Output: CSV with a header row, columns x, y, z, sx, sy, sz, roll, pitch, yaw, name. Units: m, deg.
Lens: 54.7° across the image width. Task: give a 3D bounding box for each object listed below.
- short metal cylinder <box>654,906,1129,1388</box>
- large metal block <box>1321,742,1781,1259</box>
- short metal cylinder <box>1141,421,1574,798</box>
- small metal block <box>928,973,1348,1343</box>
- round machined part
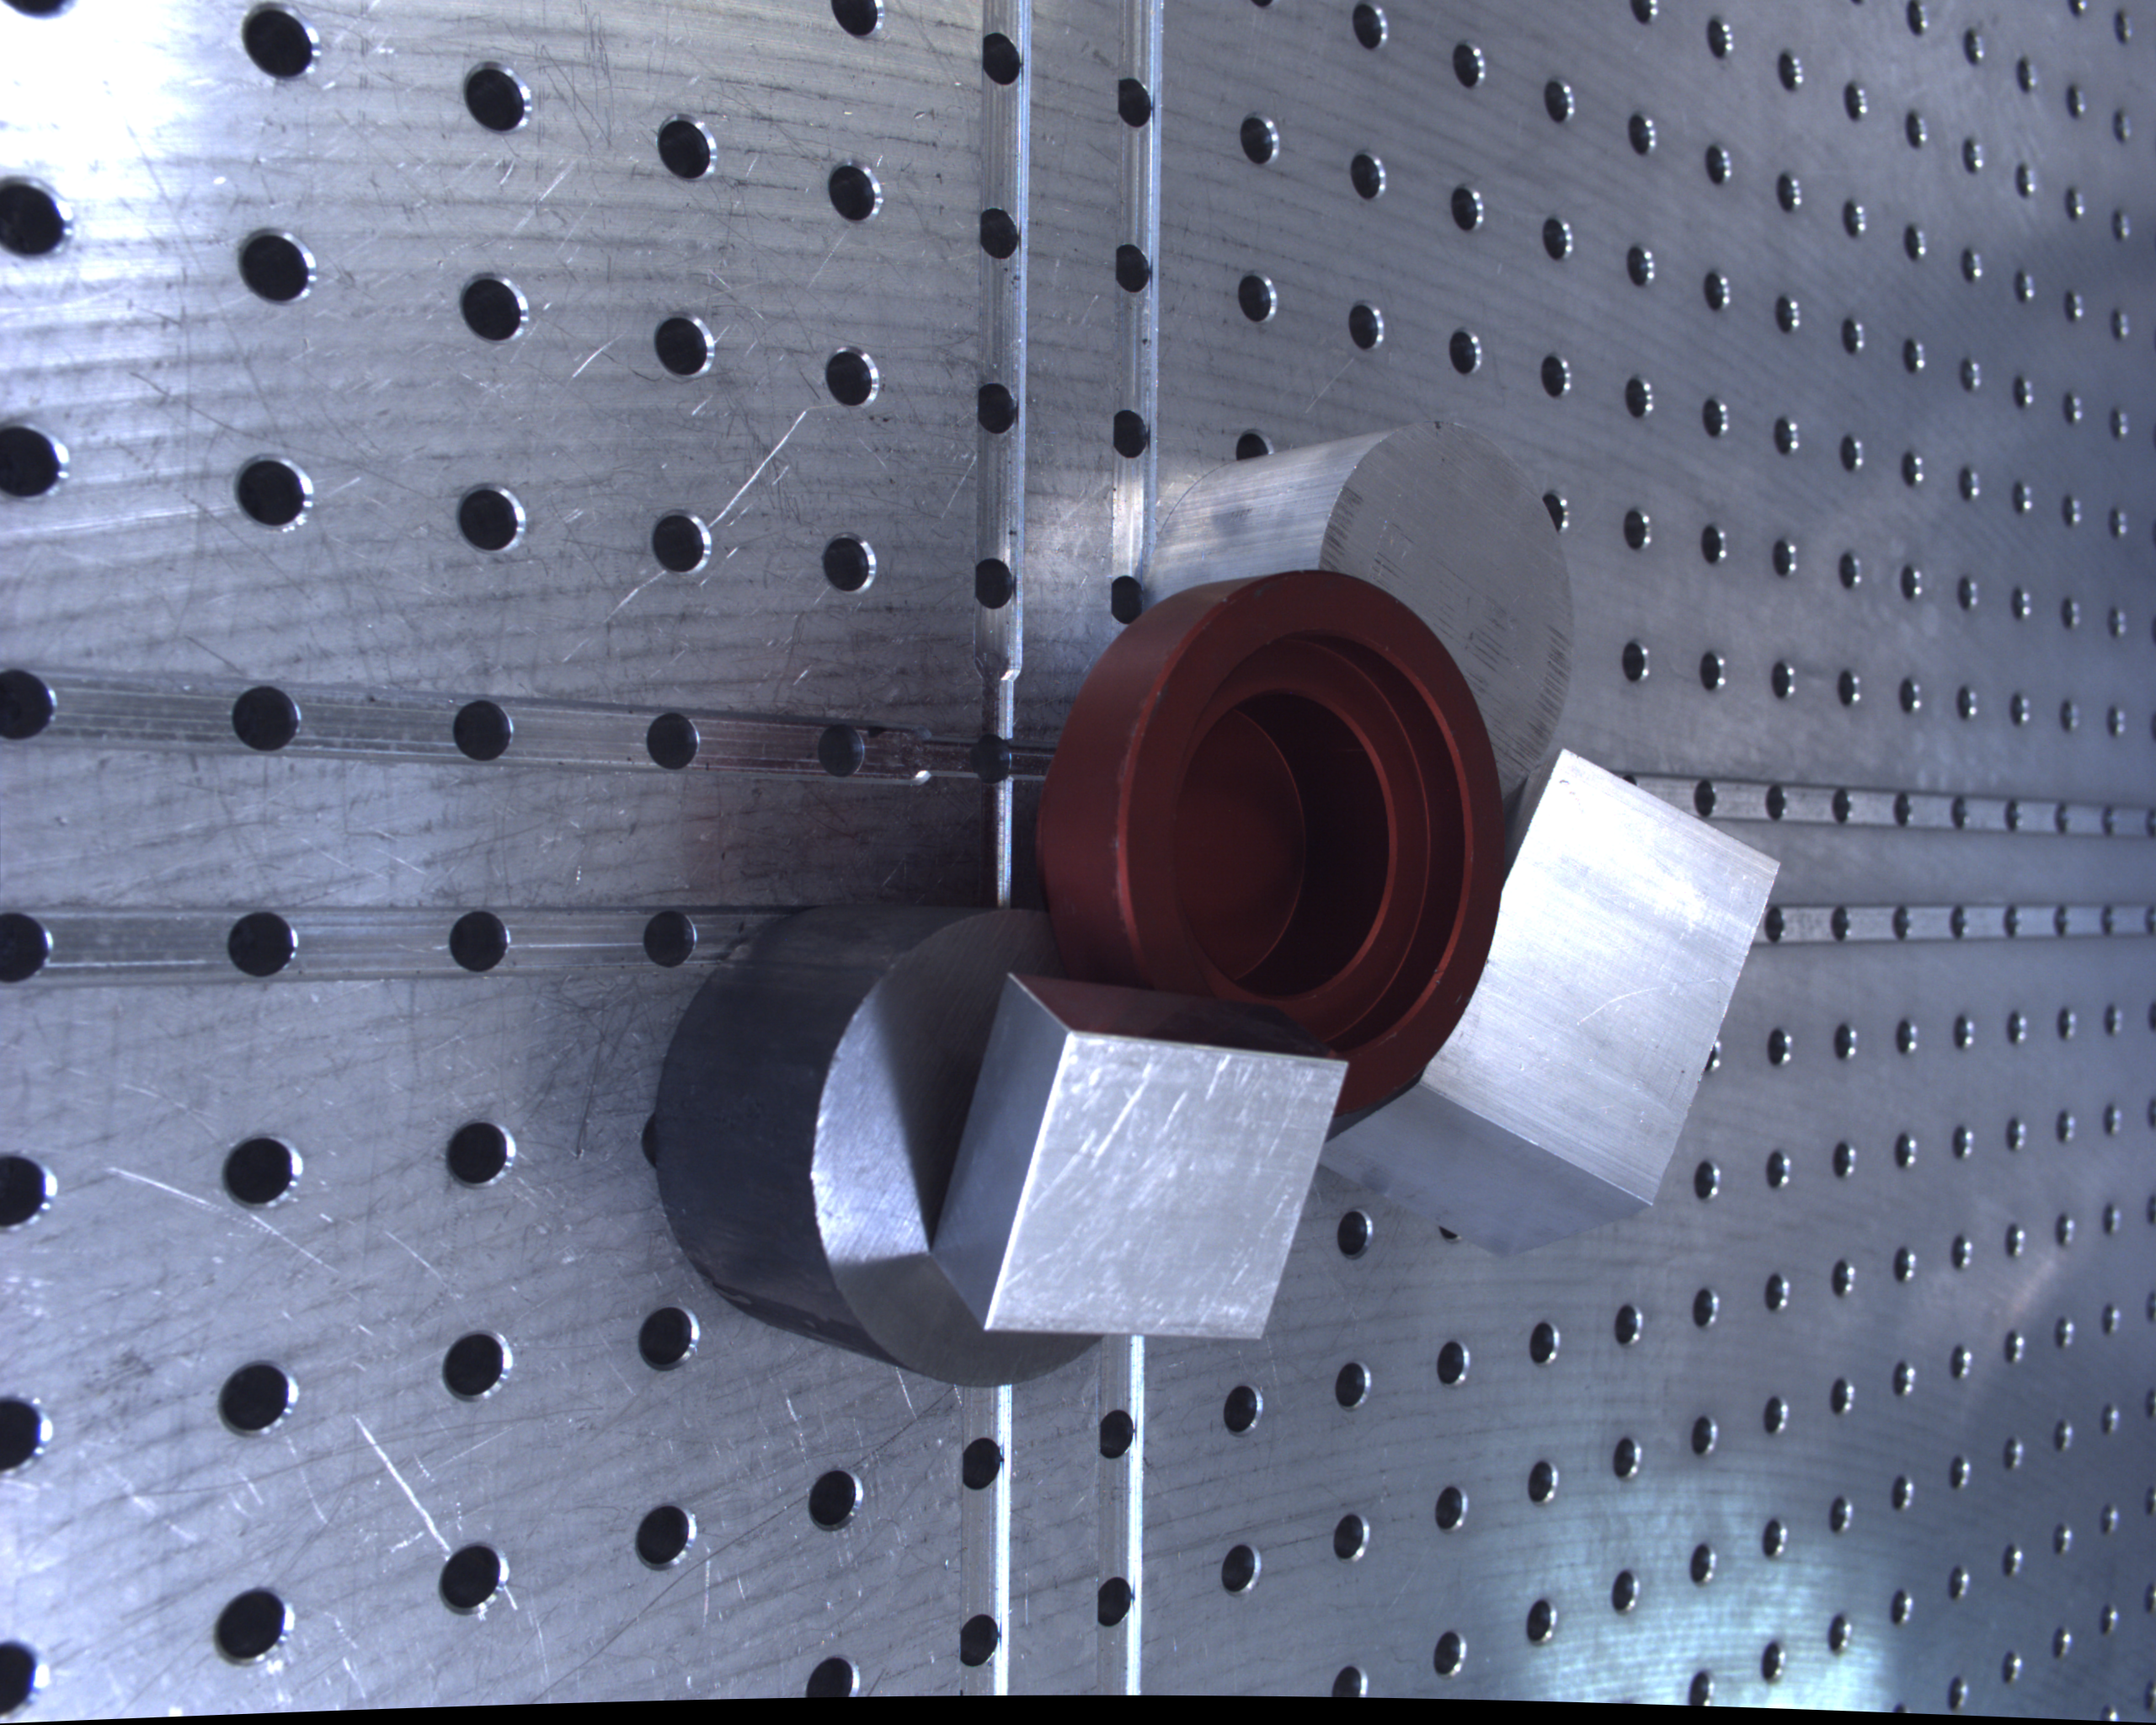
x,y,z,sx,sy,sz,roll,pitch,yaw,name
-0.027,0.048,0.370,0.081,0.050,0.079,0,90,-40,short metal cylinder
0.096,0.032,0.445,0.050,0.080,0.080,28,69,-1,large metal block
0.060,-0.050,0.443,0.081,0.050,0.079,0,90,-40,short metal cylinder
0.009,0.048,0.335,0.050,0.025,0.050,9,104,-28,small metal block
0.031,-0.003,0.386,0.099,0.042,0.097,0,90,-40,round machined part
